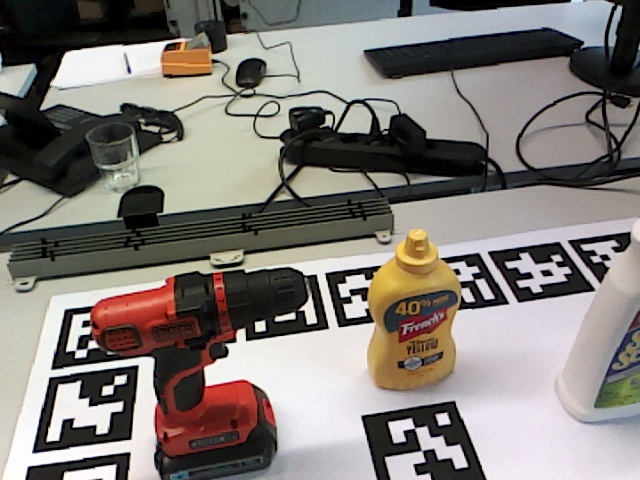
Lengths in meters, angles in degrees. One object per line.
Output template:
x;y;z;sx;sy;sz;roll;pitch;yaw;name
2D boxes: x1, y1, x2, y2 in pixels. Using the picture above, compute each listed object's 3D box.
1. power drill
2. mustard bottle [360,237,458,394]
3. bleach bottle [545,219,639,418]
-0.088;0.105;0.564;0.184;0.186;0.057;-14;40;-7;power drill
0.093;0.076;0.636;0.096;0.191;0.059;-11;39;-13;mustard bottle
0.290;0.067;0.584;0.102;0.250;0.068;-2;39;1;bleach bottle
